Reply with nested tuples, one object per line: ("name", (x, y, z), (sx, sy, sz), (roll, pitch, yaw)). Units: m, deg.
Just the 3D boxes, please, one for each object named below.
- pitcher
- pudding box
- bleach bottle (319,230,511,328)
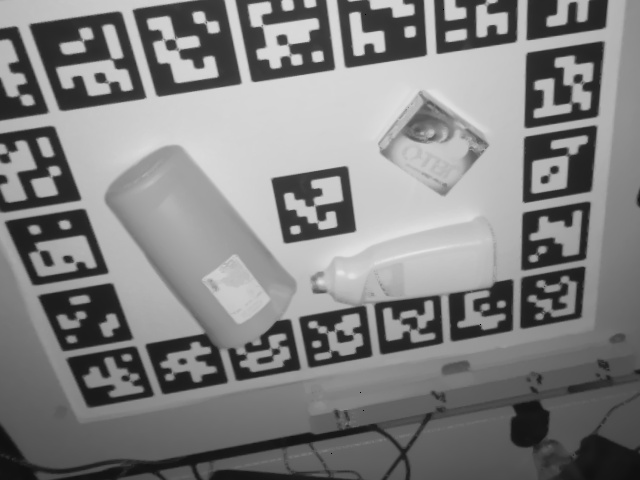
("pitcher", (-0.148, 0.014, 0.854), (0.186, 0.135, 0.242), (-13, 120, 42))
("pudding box", (0.159, -0.102, 0.851), (0.114, 0.039, 0.089), (34, 116, -20))
("bleach bottle", (0.122, 0.059, 0.927), (0.251, 0.068, 0.102), (-10, 115, 2))
